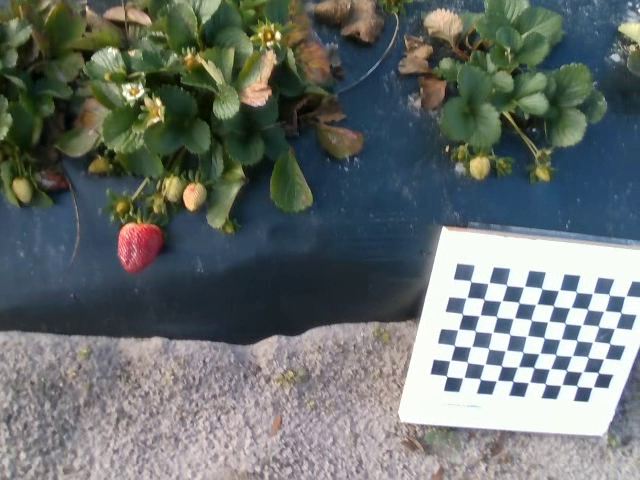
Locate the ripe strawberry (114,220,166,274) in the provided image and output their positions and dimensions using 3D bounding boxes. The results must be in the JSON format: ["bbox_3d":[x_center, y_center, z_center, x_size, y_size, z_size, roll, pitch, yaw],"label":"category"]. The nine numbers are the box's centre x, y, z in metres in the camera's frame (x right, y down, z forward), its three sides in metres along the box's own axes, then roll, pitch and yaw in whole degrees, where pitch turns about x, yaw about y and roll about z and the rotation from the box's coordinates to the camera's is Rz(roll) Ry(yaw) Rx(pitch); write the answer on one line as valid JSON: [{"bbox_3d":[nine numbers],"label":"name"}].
[{"bbox_3d":[-0.224,0.013,0.883,0.052,0.068,0.045,2,-20,-8],"label":"ripe strawberry"}]
